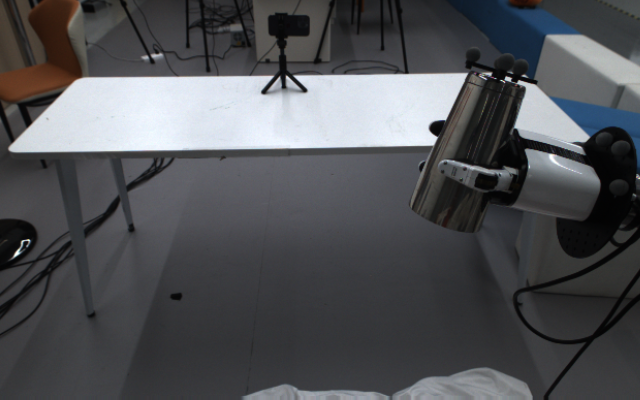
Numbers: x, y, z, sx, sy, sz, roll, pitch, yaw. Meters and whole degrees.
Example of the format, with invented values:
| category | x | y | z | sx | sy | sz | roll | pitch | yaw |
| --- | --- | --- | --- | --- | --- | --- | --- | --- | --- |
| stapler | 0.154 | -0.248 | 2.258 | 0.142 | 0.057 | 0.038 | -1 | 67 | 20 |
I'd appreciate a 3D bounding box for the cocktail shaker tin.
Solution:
| category | x | y | z | sx | sy | sz | roll | pitch | yaw |
| --- | --- | --- | --- | --- | --- | --- | --- | --- | --- |
| cocktail shaker tin | 0.178 | -0.059 | 0.572 | 0.093 | 0.170 | 0.093 | 14 | 19 | -5 |
